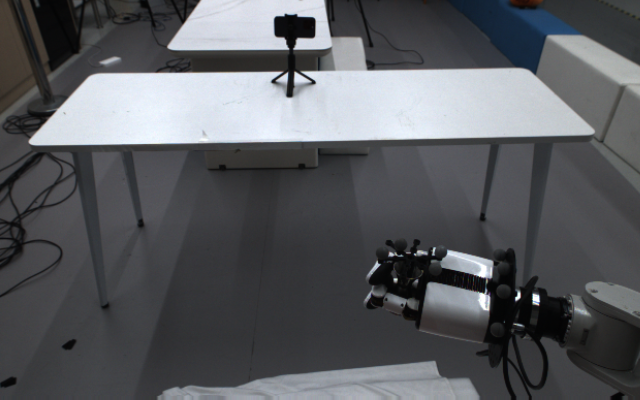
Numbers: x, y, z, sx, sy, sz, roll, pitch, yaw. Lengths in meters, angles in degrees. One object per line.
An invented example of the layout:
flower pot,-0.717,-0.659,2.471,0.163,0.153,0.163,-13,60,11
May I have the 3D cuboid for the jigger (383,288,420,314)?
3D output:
jigger,0.120,0.118,0.673,0.043,0.071,0.043,4,31,-2
